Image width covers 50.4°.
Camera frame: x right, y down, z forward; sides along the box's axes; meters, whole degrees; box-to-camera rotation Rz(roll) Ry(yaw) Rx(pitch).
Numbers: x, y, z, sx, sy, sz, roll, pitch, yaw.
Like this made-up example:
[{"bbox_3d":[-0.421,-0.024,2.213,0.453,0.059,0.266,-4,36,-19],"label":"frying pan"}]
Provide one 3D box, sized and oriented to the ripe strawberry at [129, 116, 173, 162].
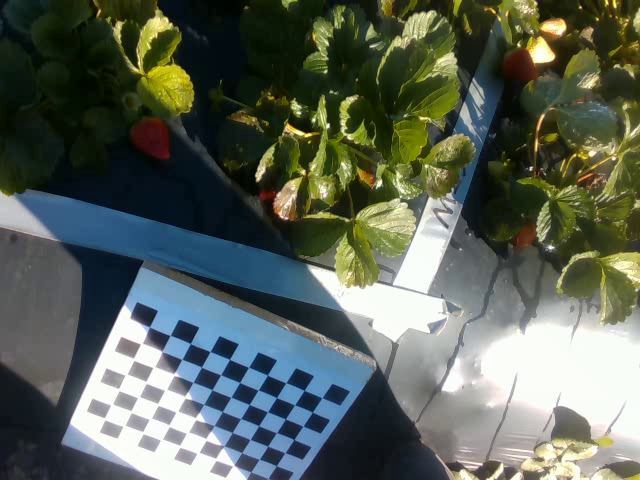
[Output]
[{"bbox_3d":[-0.183,-0.109,0.720,0.045,0.059,0.042,-31,6,12],"label":"ripe strawberry"}]
